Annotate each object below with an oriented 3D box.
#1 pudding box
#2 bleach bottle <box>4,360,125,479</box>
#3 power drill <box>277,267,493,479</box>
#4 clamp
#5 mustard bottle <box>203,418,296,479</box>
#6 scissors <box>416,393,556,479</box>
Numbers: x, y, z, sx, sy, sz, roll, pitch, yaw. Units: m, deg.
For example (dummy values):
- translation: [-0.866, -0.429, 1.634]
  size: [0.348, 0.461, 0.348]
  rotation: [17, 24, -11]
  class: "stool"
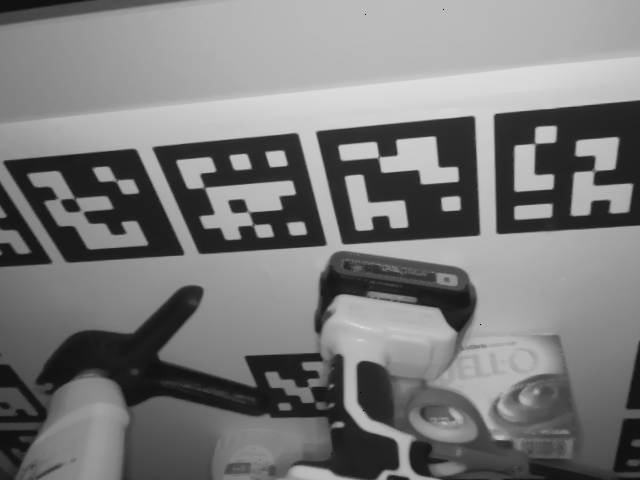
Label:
- translation: [0.146, 0.124, 0.563]
  size: [0.114, 0.091, 0.038]
  rotation: [3, 137, 5]
  class: "pudding box"
- translation: [-0.211, 0.187, 0.535]
  size: [0.102, 0.252, 0.068]
  rotation: [-20, 129, 14]
  class: "bleach bottle"
- translation: [0.070, 0.111, 0.459]
  size: [0.185, 0.189, 0.056]
  rotation: [8, 137, -3]
  class: "power drill"
- translation: [-0.167, 0.107, 0.601]
  size: [0.201, 0.037, 0.164]
  rotation: [-6, 127, 13]
  class: "clamp"
- translation: [-0.083, 0.261, 0.646]
  size: [0.096, 0.193, 0.058]
  rotation: [11, 131, 0]
  class: "mustard bottle"
- translation: [0.148, 0.171, 0.518]
  size: [0.203, 0.016, 0.086]
  rotation: [21, 125, -5]
  class: "scissors"
